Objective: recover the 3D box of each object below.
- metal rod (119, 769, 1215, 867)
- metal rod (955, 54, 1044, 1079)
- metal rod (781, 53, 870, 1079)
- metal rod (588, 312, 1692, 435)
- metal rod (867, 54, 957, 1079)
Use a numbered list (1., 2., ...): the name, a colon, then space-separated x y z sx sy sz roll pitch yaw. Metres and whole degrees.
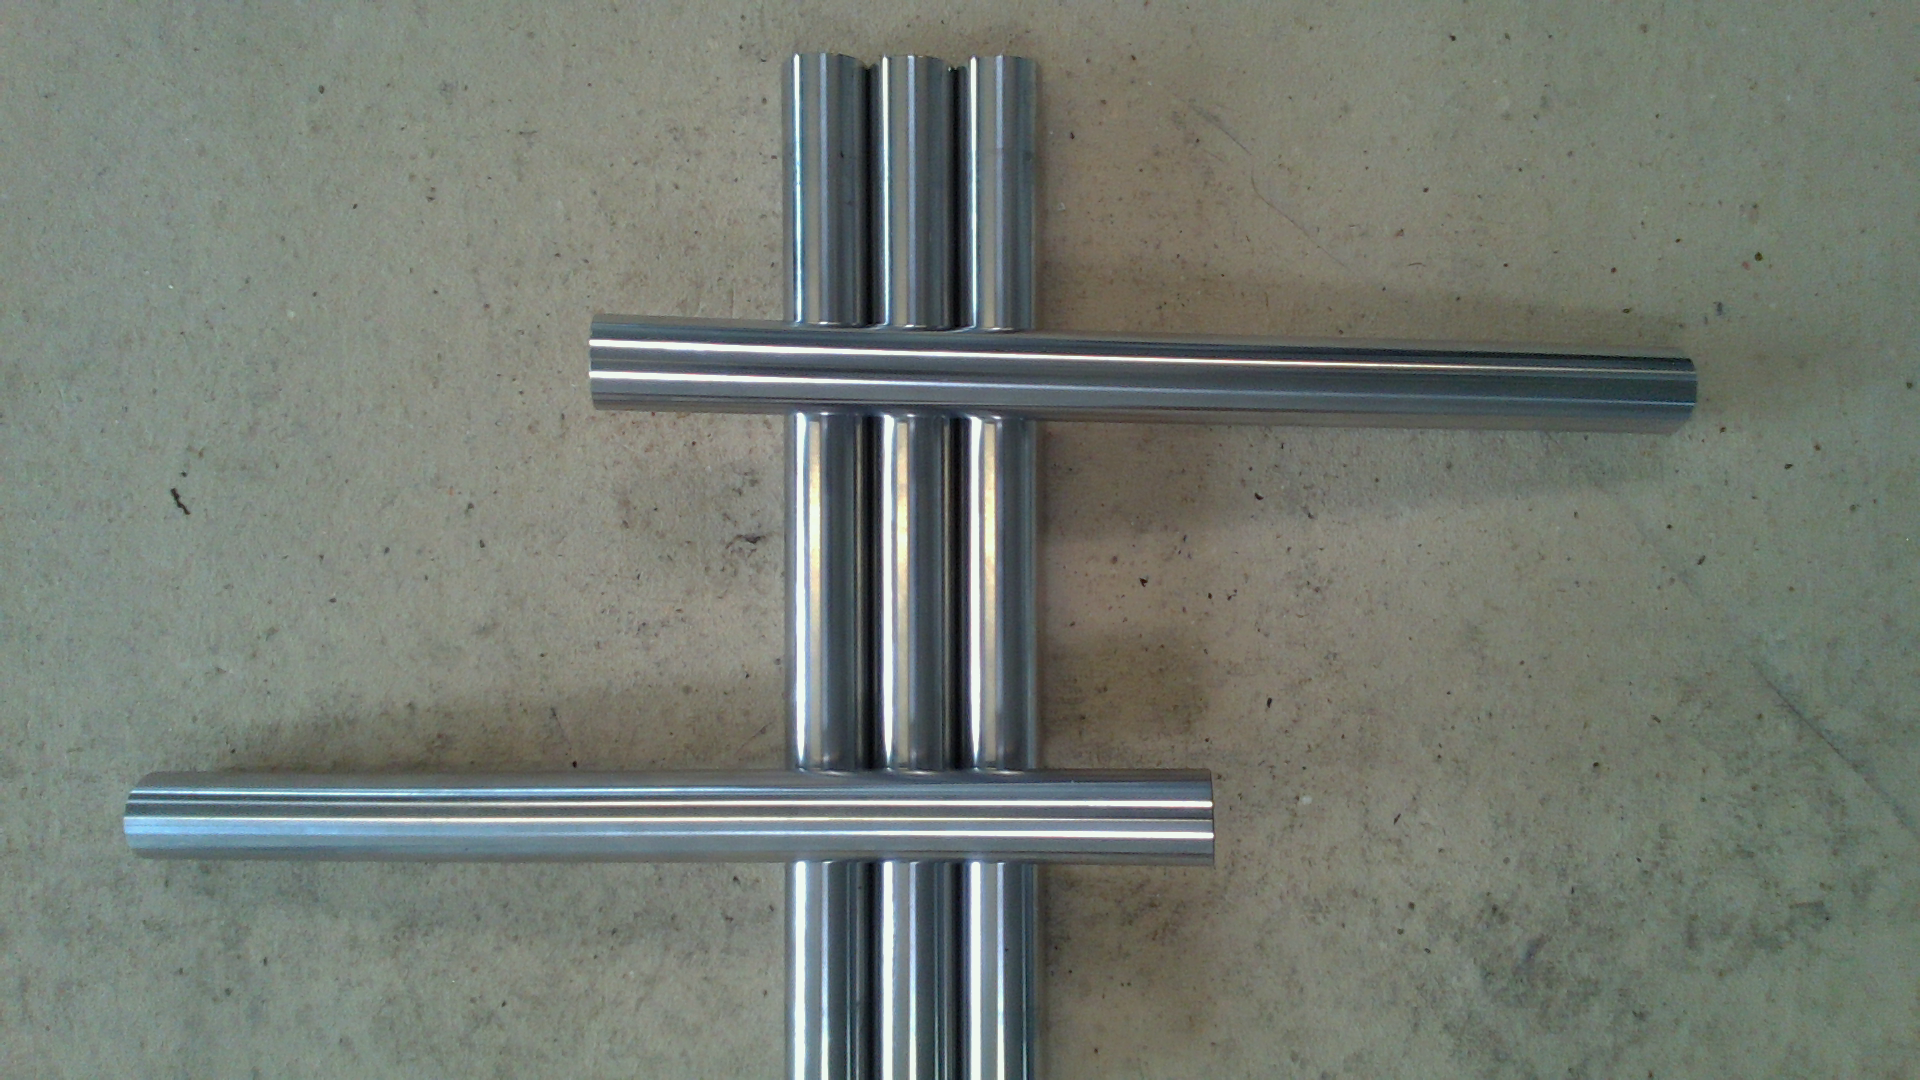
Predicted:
1. metal rod: -0.083 0.076 0.376 0.300 0.025 0.025 -1 90 7
2. metal rod: 0.011 0.015 0.395 0.025 0.025 0.300 0 90 0
3. metal rod: -0.038 0.015 0.395 0.025 0.025 0.300 0 90 0
4. metal rod: 0.054 -0.045 0.376 0.300 0.025 0.025 1 90 -8
5. metal rod: -0.014 0.015 0.395 0.025 0.025 0.300 0 90 0
